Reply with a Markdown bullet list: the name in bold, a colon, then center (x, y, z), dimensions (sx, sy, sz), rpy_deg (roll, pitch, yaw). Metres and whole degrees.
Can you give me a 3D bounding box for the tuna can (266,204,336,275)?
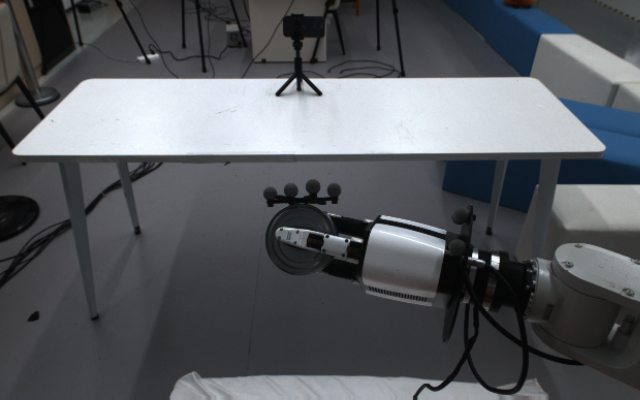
- **tuna can**: center (-0.018, 0.052, 0.583), dimensions (0.085, 0.085, 0.034), rpy_deg (10, -6, 11)
